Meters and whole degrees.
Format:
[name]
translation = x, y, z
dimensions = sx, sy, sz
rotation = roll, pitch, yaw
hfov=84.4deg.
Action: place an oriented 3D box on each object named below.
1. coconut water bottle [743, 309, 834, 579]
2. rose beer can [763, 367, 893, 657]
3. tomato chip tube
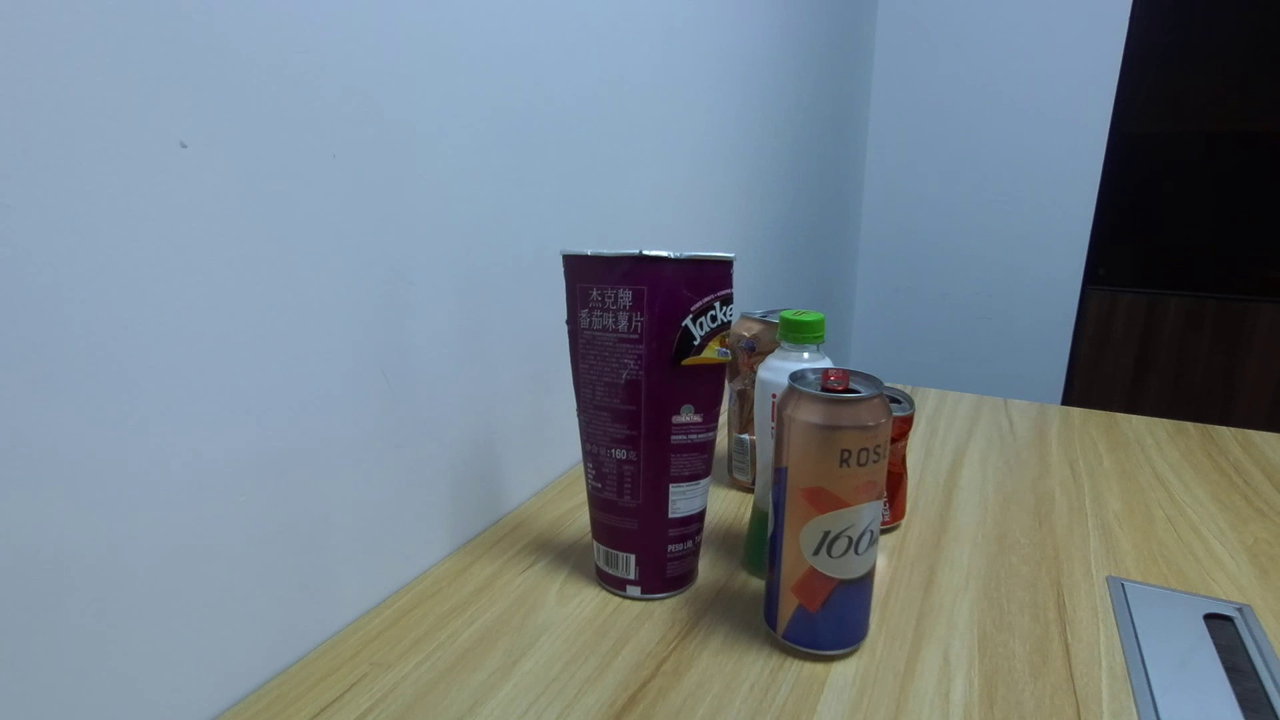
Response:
[coconut water bottle]
translation = 0.112, 0.059, 0.507
dimensions = 0.063, 0.188, 0.063
rotation = 1, 17, 0
[rose beer can]
translation = 0.112, 0.093, 0.428
dimensions = 0.068, 0.169, 0.068
rotation = 1, 17, 0
[tomato chip tube]
translation = 0.008, 0.043, 0.481
dimensions = 0.078, 0.235, 0.089
rotation = -12, 18, -37
